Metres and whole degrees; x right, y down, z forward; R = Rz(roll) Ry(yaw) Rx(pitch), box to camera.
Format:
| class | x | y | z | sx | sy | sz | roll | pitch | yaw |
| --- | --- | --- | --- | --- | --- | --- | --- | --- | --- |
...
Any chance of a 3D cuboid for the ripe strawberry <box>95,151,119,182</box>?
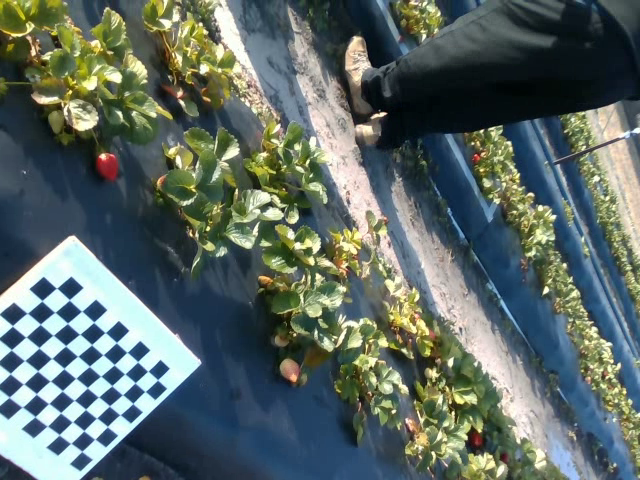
| class | x | y | z | sx | sy | sz | roll | pitch | yaw |
| --- | --- | --- | --- | --- | --- | --- | --- | --- | --- |
| ripe strawberry | -0.279 | -0.094 | 0.782 | 0.030 | 0.045 | 0.033 | -14 | -8 | -23 |
